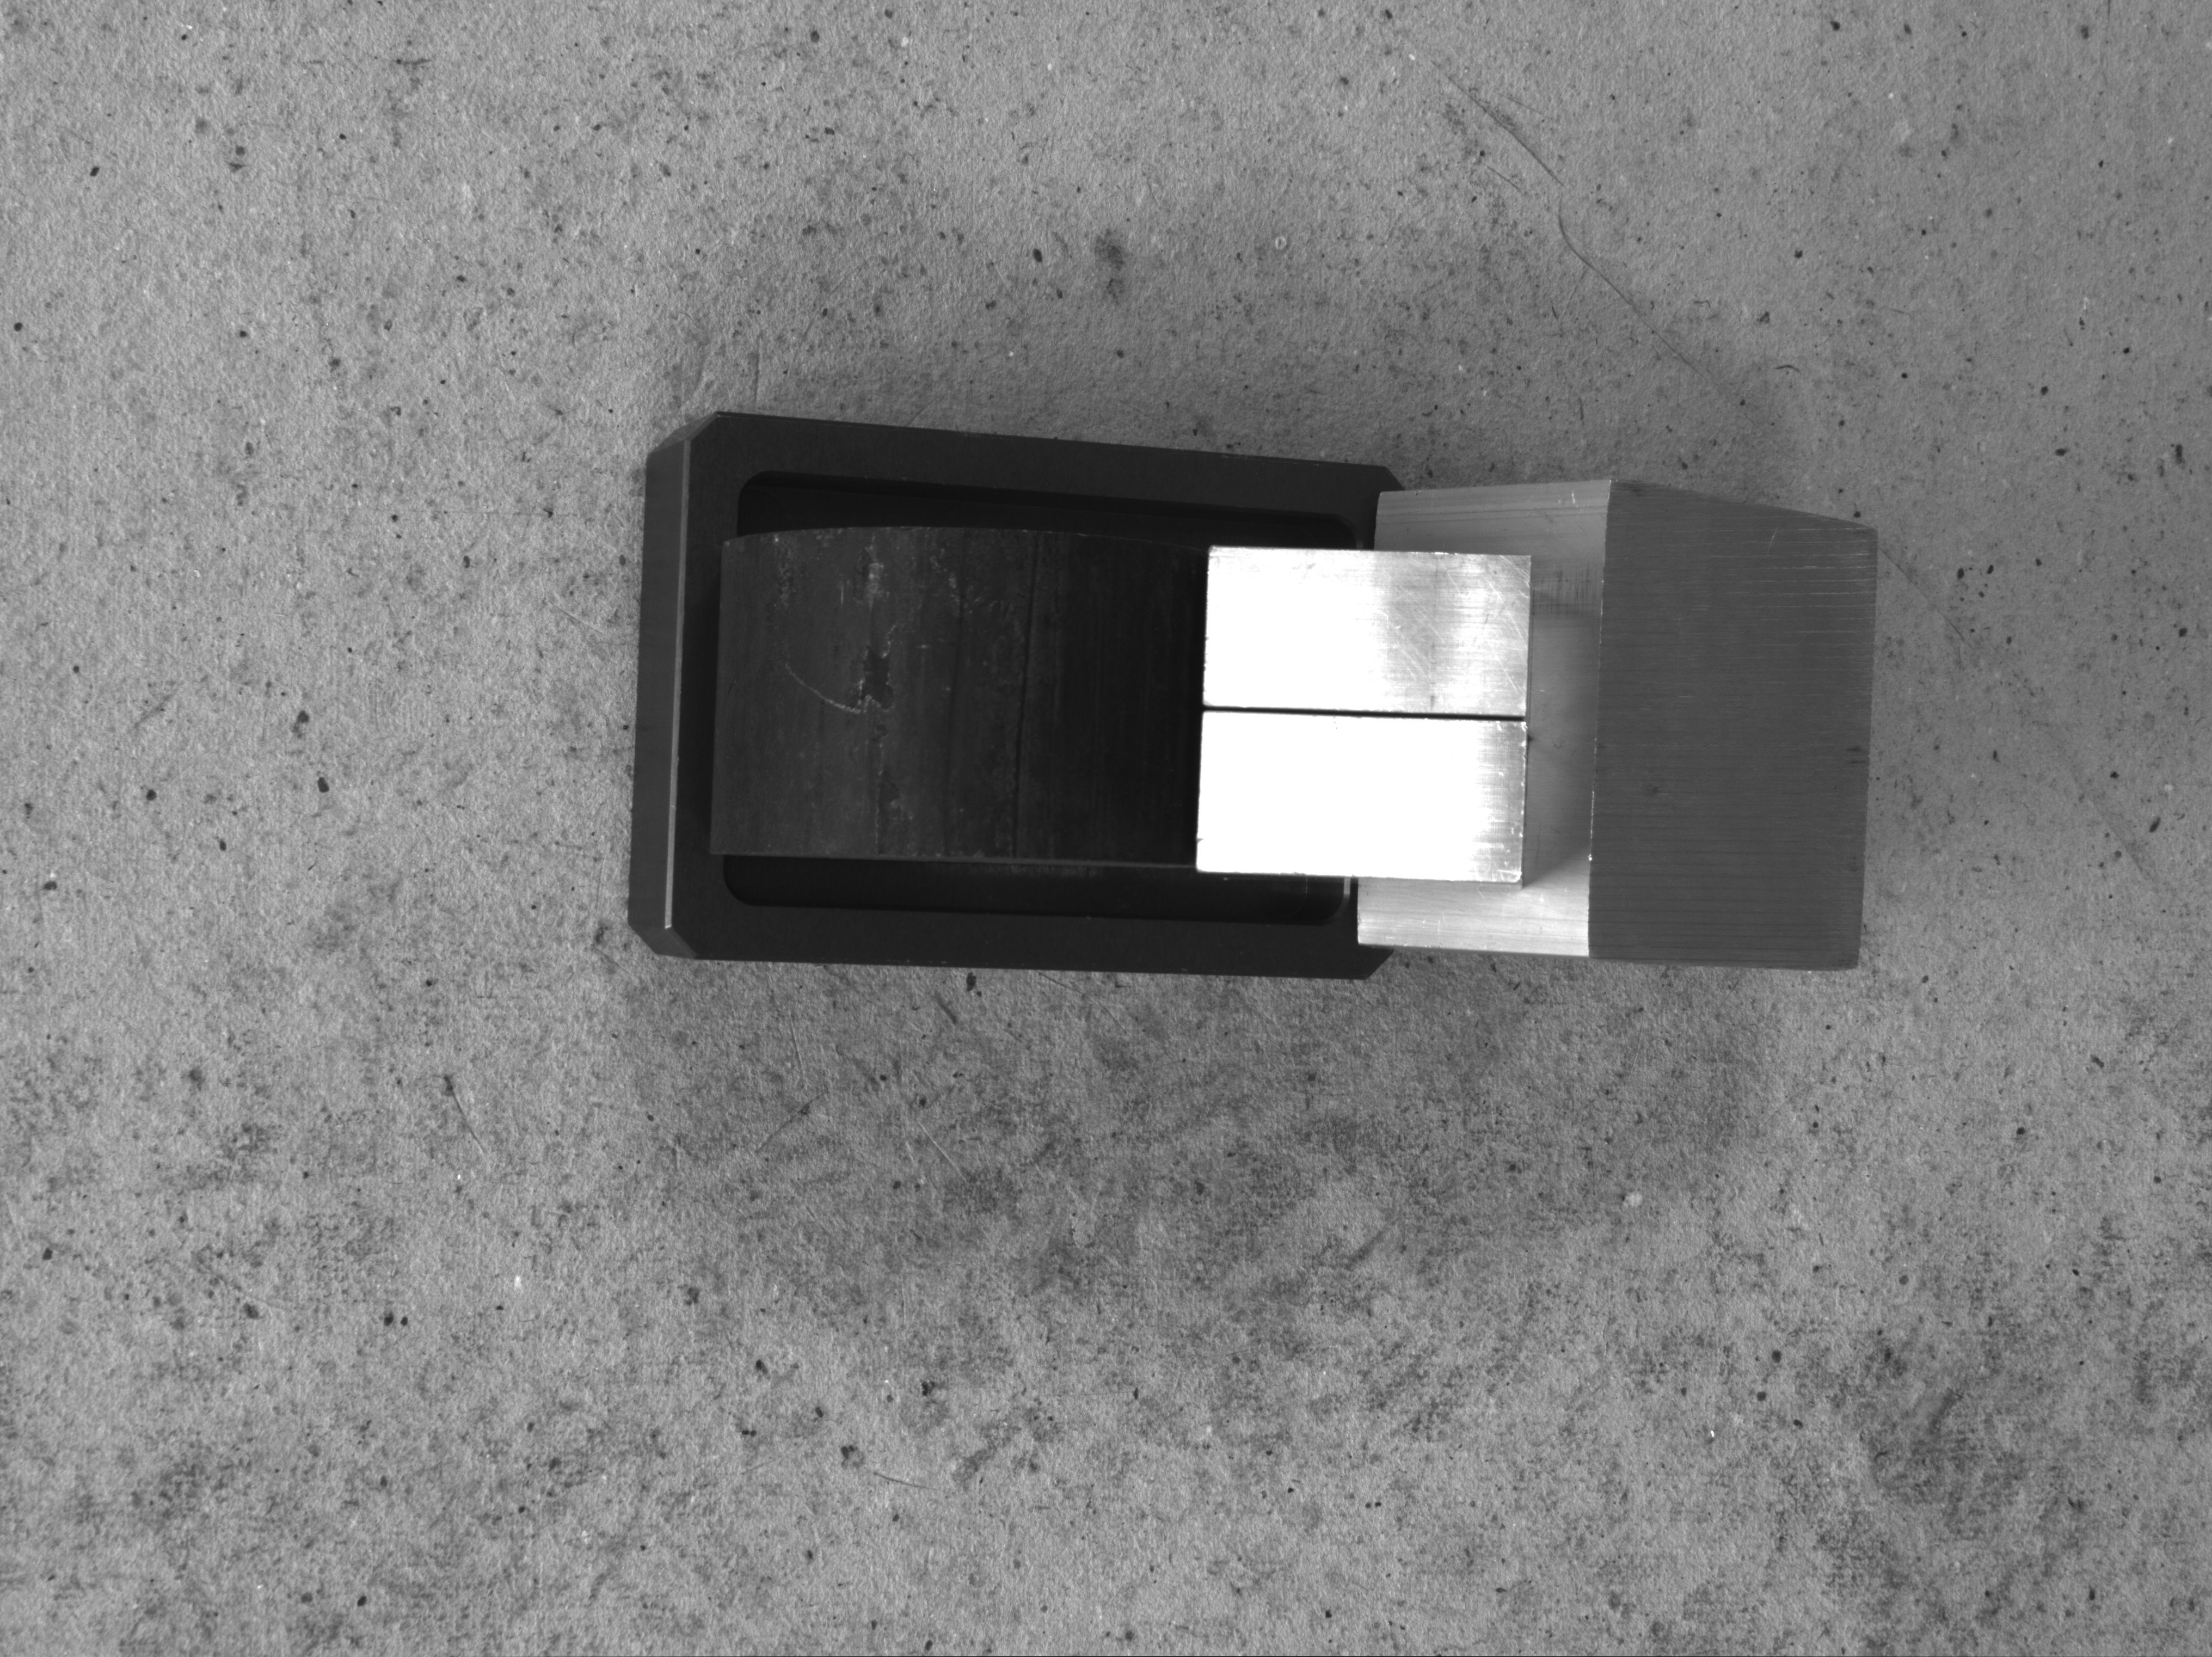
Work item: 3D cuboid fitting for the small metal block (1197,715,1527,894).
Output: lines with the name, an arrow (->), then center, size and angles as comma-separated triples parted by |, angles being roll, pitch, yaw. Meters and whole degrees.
small metal block -> 0.042, -0.003, 0.590 | 0.050, 0.050, 0.025 | 2, 88, 6

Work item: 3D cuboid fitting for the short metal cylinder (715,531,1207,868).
short metal cylinder -> -0.023, -0.019, 0.593 | 0.080, 0.080, 0.050 | 1, 90, -20

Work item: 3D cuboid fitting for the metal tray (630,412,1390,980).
metal tray -> -0.014, -0.021, 0.636 | 0.130, 0.030, 0.090 | 3, 89, -20

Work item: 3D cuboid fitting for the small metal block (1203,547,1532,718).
small metal block -> 0.043, -0.029, 0.591 | 0.050, 0.050, 0.025 | 2, 88, 6

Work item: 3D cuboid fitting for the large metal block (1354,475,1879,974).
large metal block -> 0.091, -0.016, 0.648 | 0.080, 0.050, 0.080 | 4, 88, -46
